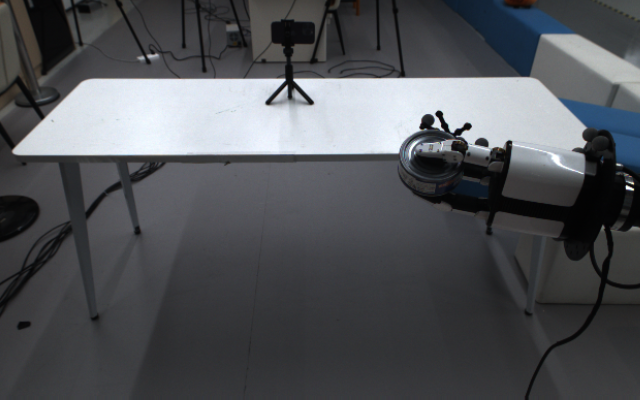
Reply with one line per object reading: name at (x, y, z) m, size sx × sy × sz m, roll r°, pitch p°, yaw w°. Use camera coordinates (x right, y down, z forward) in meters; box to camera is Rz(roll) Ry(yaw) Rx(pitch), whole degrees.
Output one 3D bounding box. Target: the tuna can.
tuna can at (0.147, -0.052, 0.628) m, size 0.085 × 0.034 × 0.085 m, roll -4°, pitch 57°, yaw 6°
